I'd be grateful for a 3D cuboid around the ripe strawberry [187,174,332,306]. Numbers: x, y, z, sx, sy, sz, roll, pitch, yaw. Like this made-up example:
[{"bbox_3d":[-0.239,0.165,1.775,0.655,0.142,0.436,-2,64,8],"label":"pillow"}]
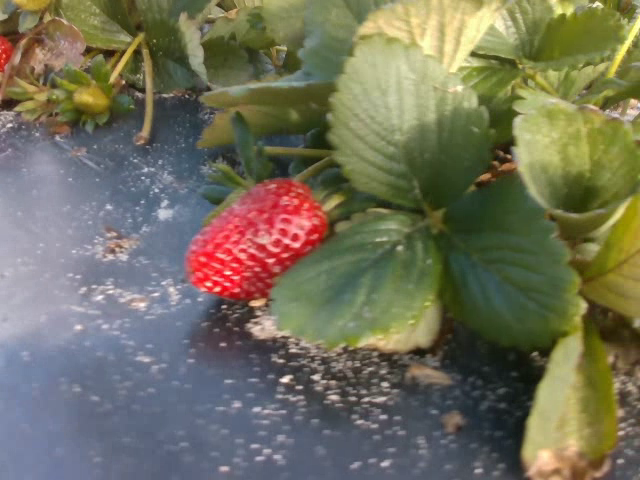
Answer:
[{"bbox_3d":[-0.016,-0.001,0.127,0.036,0.021,0.029,-29,33,-33],"label":"ripe strawberry"}]
